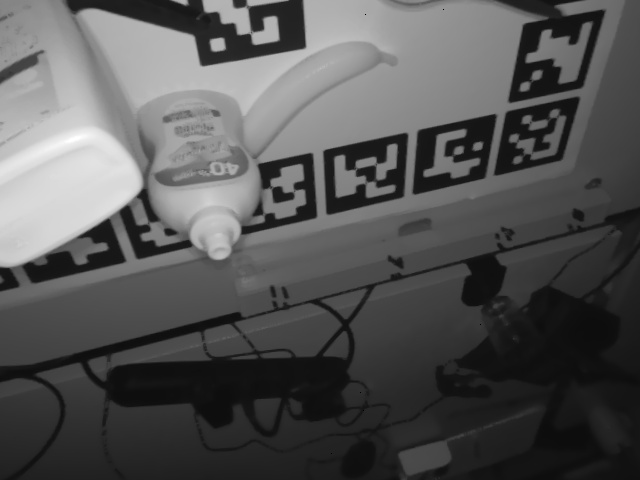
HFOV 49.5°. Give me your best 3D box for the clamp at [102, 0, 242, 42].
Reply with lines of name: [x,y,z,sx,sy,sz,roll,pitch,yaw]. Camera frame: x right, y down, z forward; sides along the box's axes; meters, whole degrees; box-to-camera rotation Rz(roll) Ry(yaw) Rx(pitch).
clamp: [-0.176,-0.208,0.531,0.204,0.037,0.164,-15,134,-5]

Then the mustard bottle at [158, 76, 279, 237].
mustard bottle: [-0.088,-0.073,0.614,0.097,0.192,0.057,0,133,-19]

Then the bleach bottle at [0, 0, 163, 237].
bleach bottle: [-0.183,-0.119,0.463,0.103,0.250,0.068,-29,140,-2]

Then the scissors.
scissors: [0.158,-0.200,0.561,0.205,0.016,0.086,11,123,-24]

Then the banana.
banana: [0.001,-0.127,0.690,0.195,0.039,0.075,-39,150,17]
